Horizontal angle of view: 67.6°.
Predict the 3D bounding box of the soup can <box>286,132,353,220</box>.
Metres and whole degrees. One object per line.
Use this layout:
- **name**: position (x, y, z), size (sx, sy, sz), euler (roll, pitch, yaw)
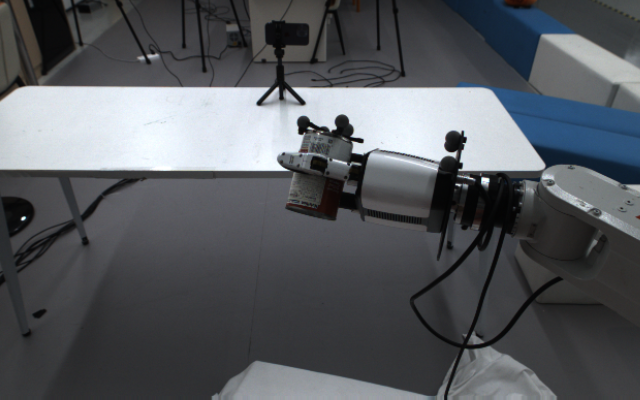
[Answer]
- **soup can**: position (0.001, -0.030, 0.620), size (0.067, 0.101, 0.067), euler (13, -6, 1)
